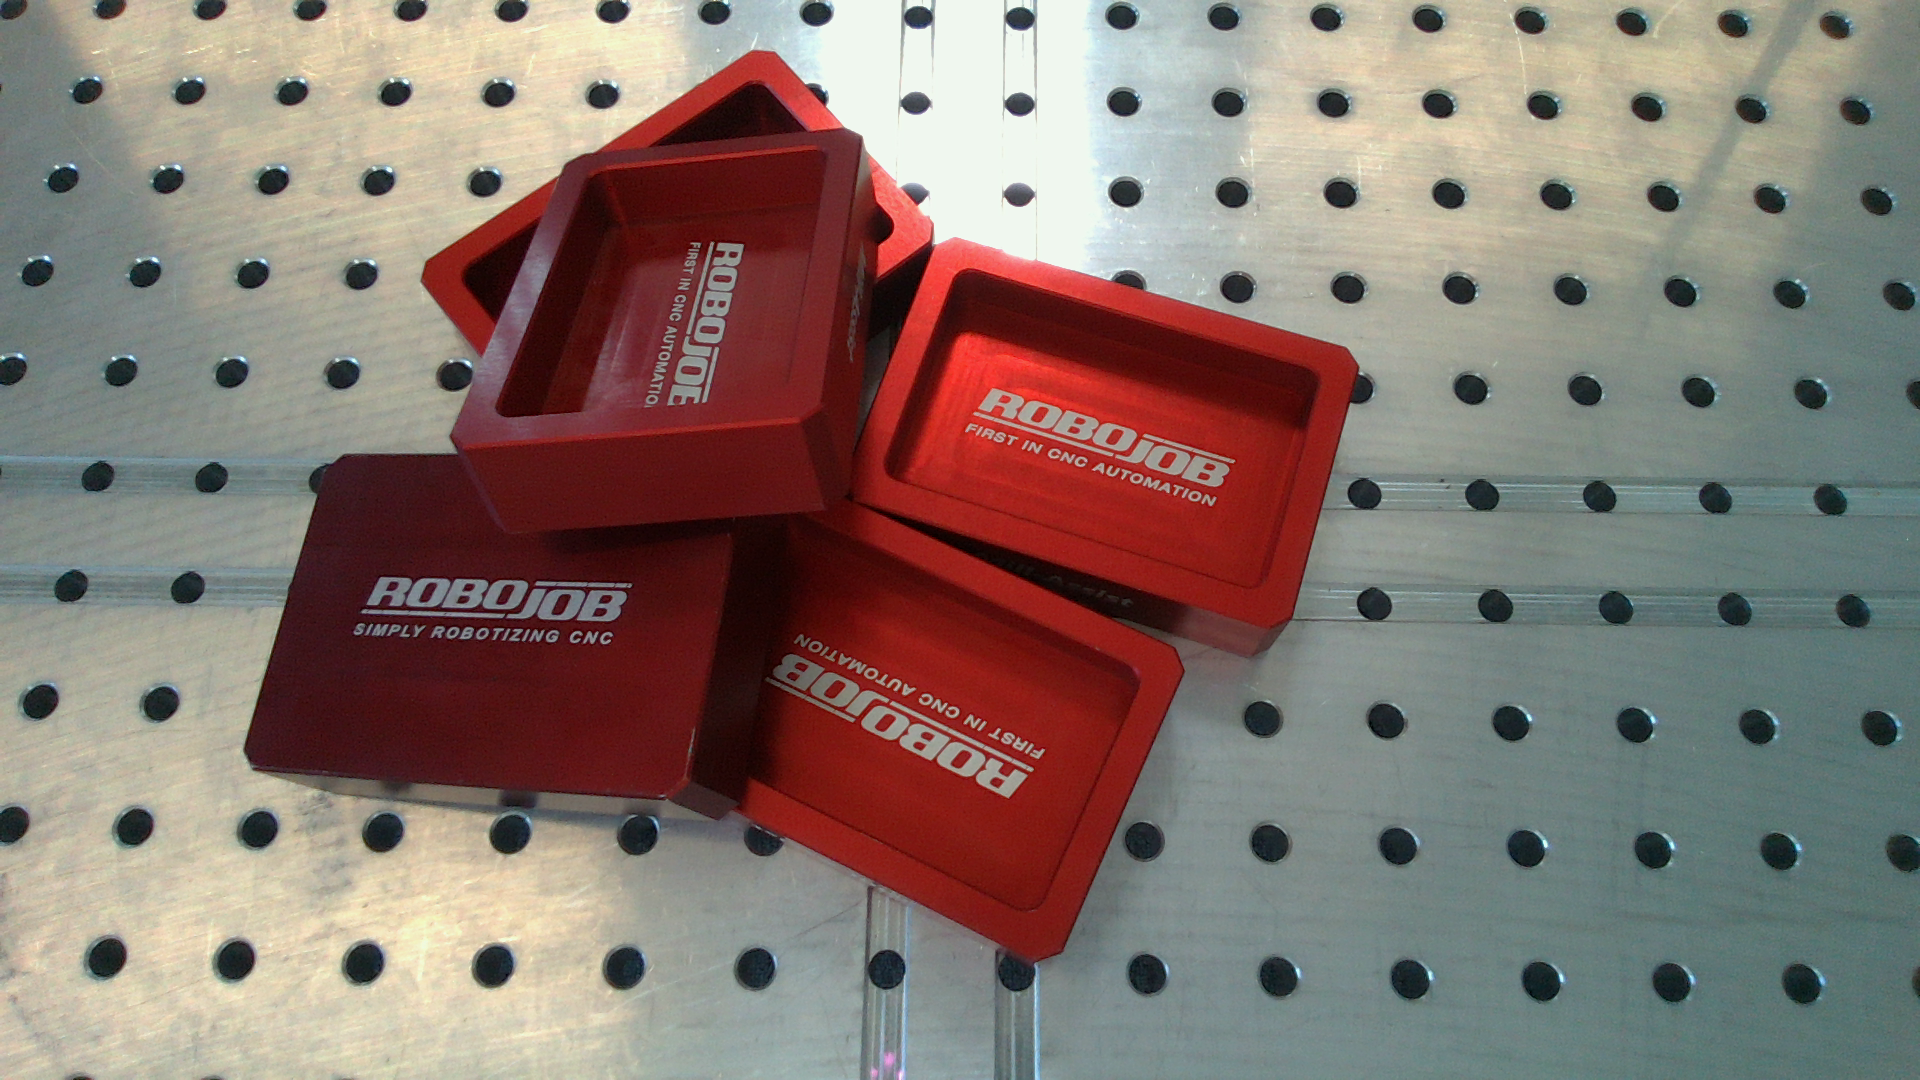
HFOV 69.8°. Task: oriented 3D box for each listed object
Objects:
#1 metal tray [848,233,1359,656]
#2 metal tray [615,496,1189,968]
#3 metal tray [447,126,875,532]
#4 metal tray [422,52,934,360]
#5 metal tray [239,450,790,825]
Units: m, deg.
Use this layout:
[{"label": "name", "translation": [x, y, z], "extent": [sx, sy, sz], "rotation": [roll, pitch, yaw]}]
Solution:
[{"label": "metal tray", "translation": [0.041, -0.029, 0.404], "extent": [0.130, 0.030, 0.090], "rotation": [17, 71, 6]}, {"label": "metal tray", "translation": [-0.015, 0.047, 0.376], "extent": [0.130, 0.030, 0.090], "rotation": [24, 72, 8]}, {"label": "metal tray", "translation": [-0.073, -0.061, 0.371], "extent": [0.090, 0.030, 0.130], "rotation": [-4, 46, 6]}, {"label": "metal tray", "translation": [-0.083, -0.081, 0.423], "extent": [0.130, 0.030, 0.090], "rotation": [-38, 73, -13]}, {"label": "metal tray", "translation": [-0.117, 0.024, 0.367], "extent": [0.130, 0.030, 0.090], "rotation": [2, 70, 16]}]
